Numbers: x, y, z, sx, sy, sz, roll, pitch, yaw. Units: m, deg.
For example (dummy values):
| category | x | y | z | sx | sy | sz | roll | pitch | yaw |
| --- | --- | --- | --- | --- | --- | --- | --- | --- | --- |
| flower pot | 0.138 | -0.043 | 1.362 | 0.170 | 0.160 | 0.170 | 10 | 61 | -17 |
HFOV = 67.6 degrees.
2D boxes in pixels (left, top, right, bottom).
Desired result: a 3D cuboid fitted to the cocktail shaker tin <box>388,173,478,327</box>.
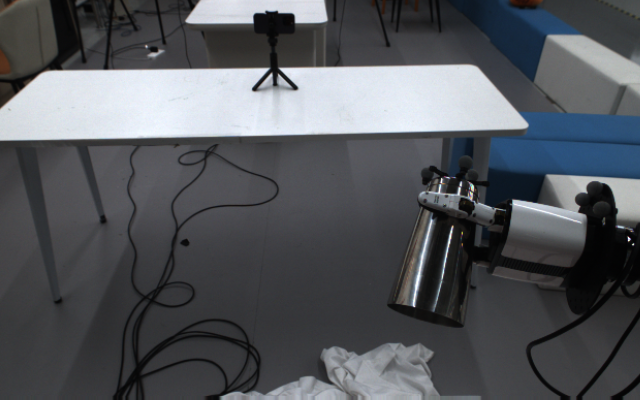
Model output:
| category | x | y | z | sx | sy | sz | roll | pitch | yaw |
| --- | --- | --- | --- | --- | --- | --- | --- | --- | --- |
| cocktail shaker tin | 0.150 | 0.058 | 0.603 | 0.093 | 0.093 | 0.170 | 13 | 71 | 15 |
